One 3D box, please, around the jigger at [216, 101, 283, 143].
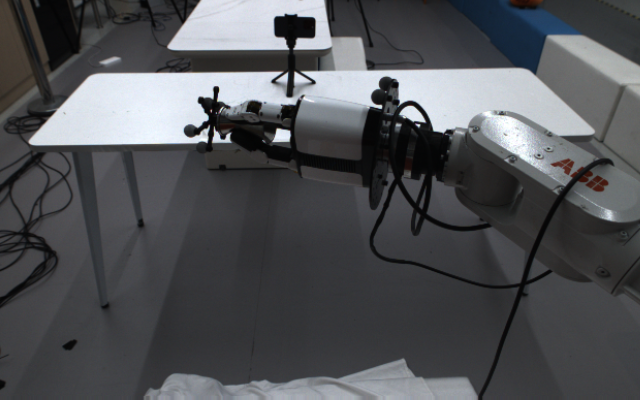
[{"bbox_3d":[-0.095,-0.106,0.639,0.071,0.043,0.043,9,35,16],"label":"jigger"}]
